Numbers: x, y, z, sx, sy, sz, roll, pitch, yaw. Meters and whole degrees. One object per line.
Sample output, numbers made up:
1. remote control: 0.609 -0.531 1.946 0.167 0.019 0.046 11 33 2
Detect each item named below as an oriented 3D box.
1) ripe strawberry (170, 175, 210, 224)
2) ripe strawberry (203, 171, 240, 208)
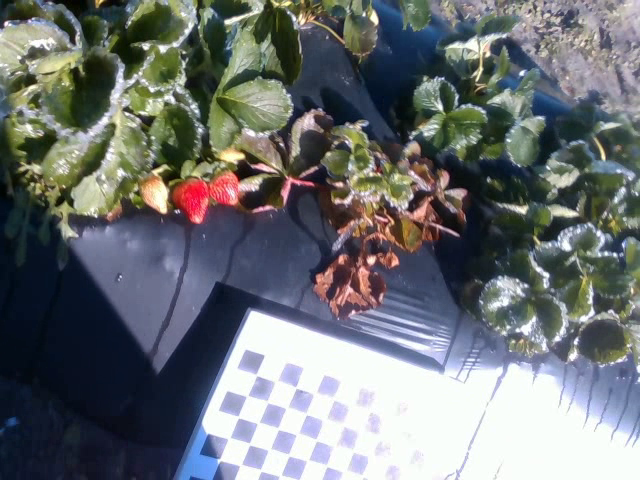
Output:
1. ripe strawberry: -0.122 -0.036 0.467 0.036 0.052 0.040 -16 -24 -7
2. ripe strawberry: -0.092 -0.056 0.486 0.036 0.041 0.030 -39 9 0
